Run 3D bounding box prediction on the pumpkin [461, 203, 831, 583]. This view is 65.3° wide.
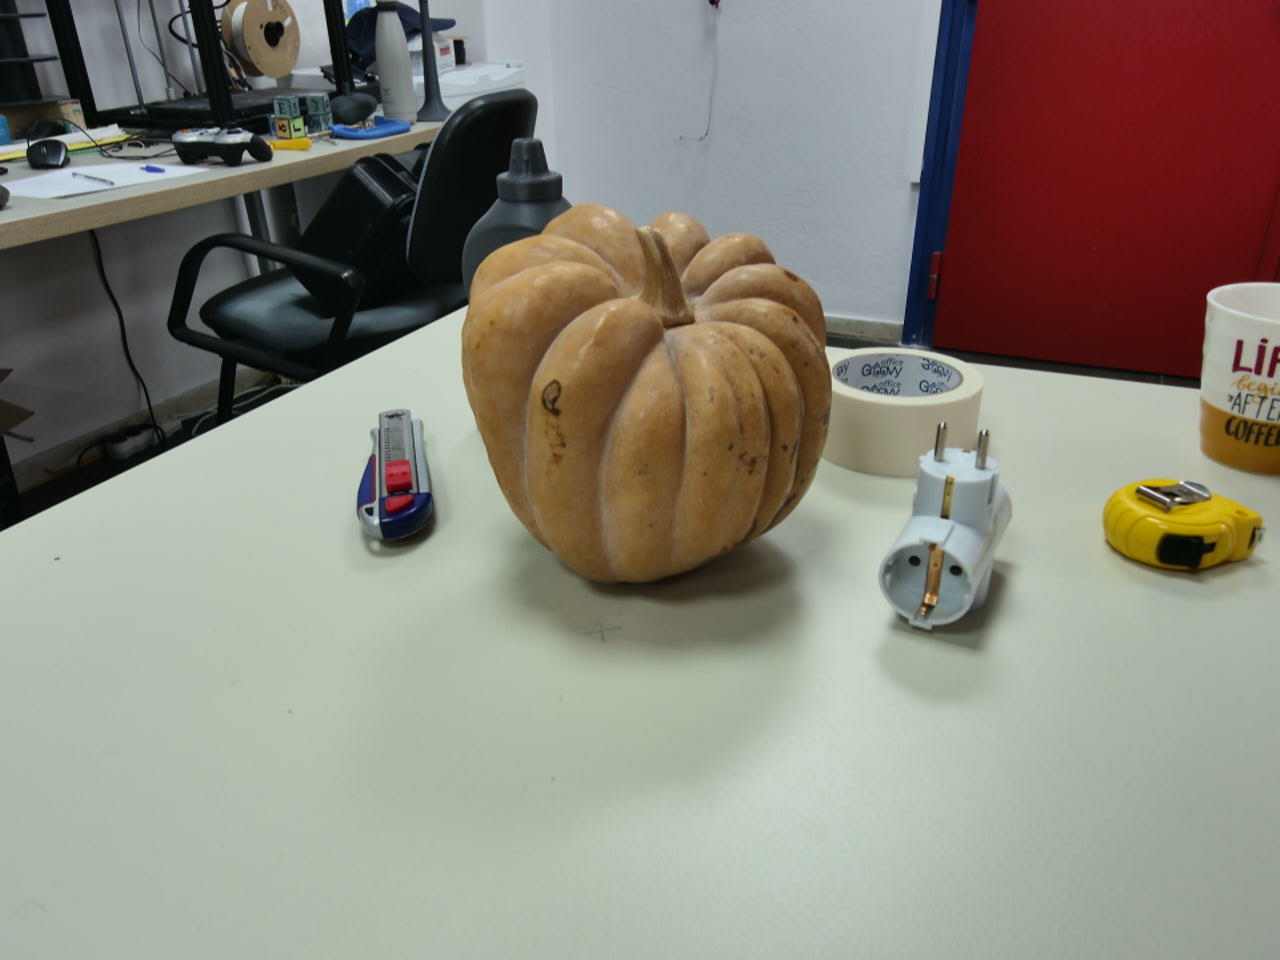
[{"bbox_3d":[0.002,-0.045,0.514,0.199,0.177,0.198,0,25,0],"label":"pumpkin"}]
